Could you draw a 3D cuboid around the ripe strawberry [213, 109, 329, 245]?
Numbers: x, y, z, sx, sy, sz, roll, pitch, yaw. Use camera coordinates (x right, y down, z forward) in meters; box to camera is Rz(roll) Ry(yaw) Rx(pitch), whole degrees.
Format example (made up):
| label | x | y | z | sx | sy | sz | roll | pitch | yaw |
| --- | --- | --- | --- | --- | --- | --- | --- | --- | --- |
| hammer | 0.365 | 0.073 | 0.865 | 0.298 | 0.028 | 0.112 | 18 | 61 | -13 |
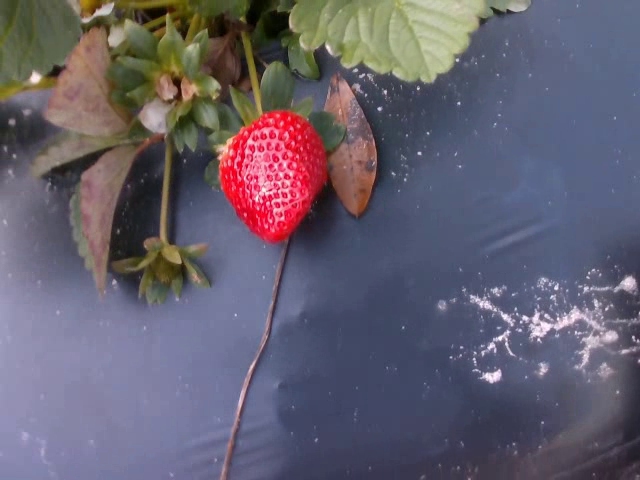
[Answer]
| label | x | y | z | sx | sy | sz | roll | pitch | yaw |
| --- | --- | --- | --- | --- | --- | --- | --- | --- | --- |
| ripe strawberry | -0.017 | -0.019 | 0.196 | 0.050 | 0.049 | 0.053 | -17 | 45 | 0 |
